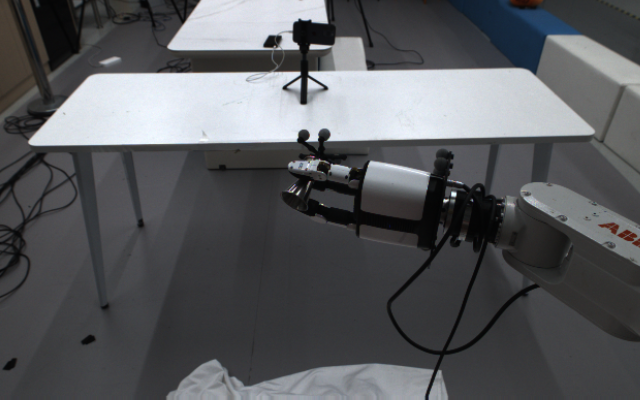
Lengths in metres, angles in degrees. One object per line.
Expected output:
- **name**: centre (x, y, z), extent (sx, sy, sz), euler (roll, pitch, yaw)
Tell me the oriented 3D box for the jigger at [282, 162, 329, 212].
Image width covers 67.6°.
- **jigger**: centre (-0.022, -0.027, 0.681), extent (0.043, 0.043, 0.071), euler (19, 61, 23)
